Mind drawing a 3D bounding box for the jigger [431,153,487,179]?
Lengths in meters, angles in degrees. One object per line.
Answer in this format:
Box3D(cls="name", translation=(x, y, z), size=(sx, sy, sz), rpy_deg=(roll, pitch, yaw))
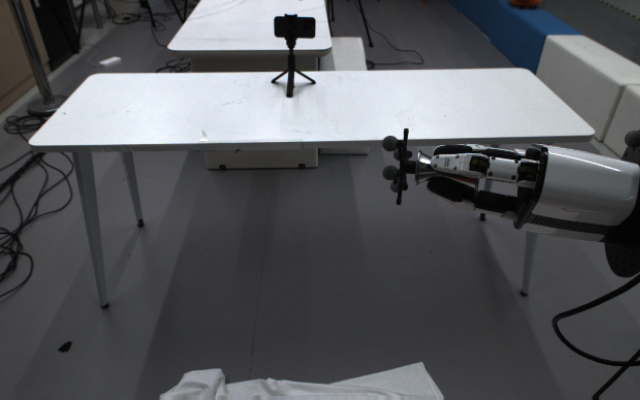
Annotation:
Box3D(cls="jigger", translation=(0.151, -0.038, 0.546), size=(0.071, 0.043, 0.043), rpy_deg=(4, 34, 18))
